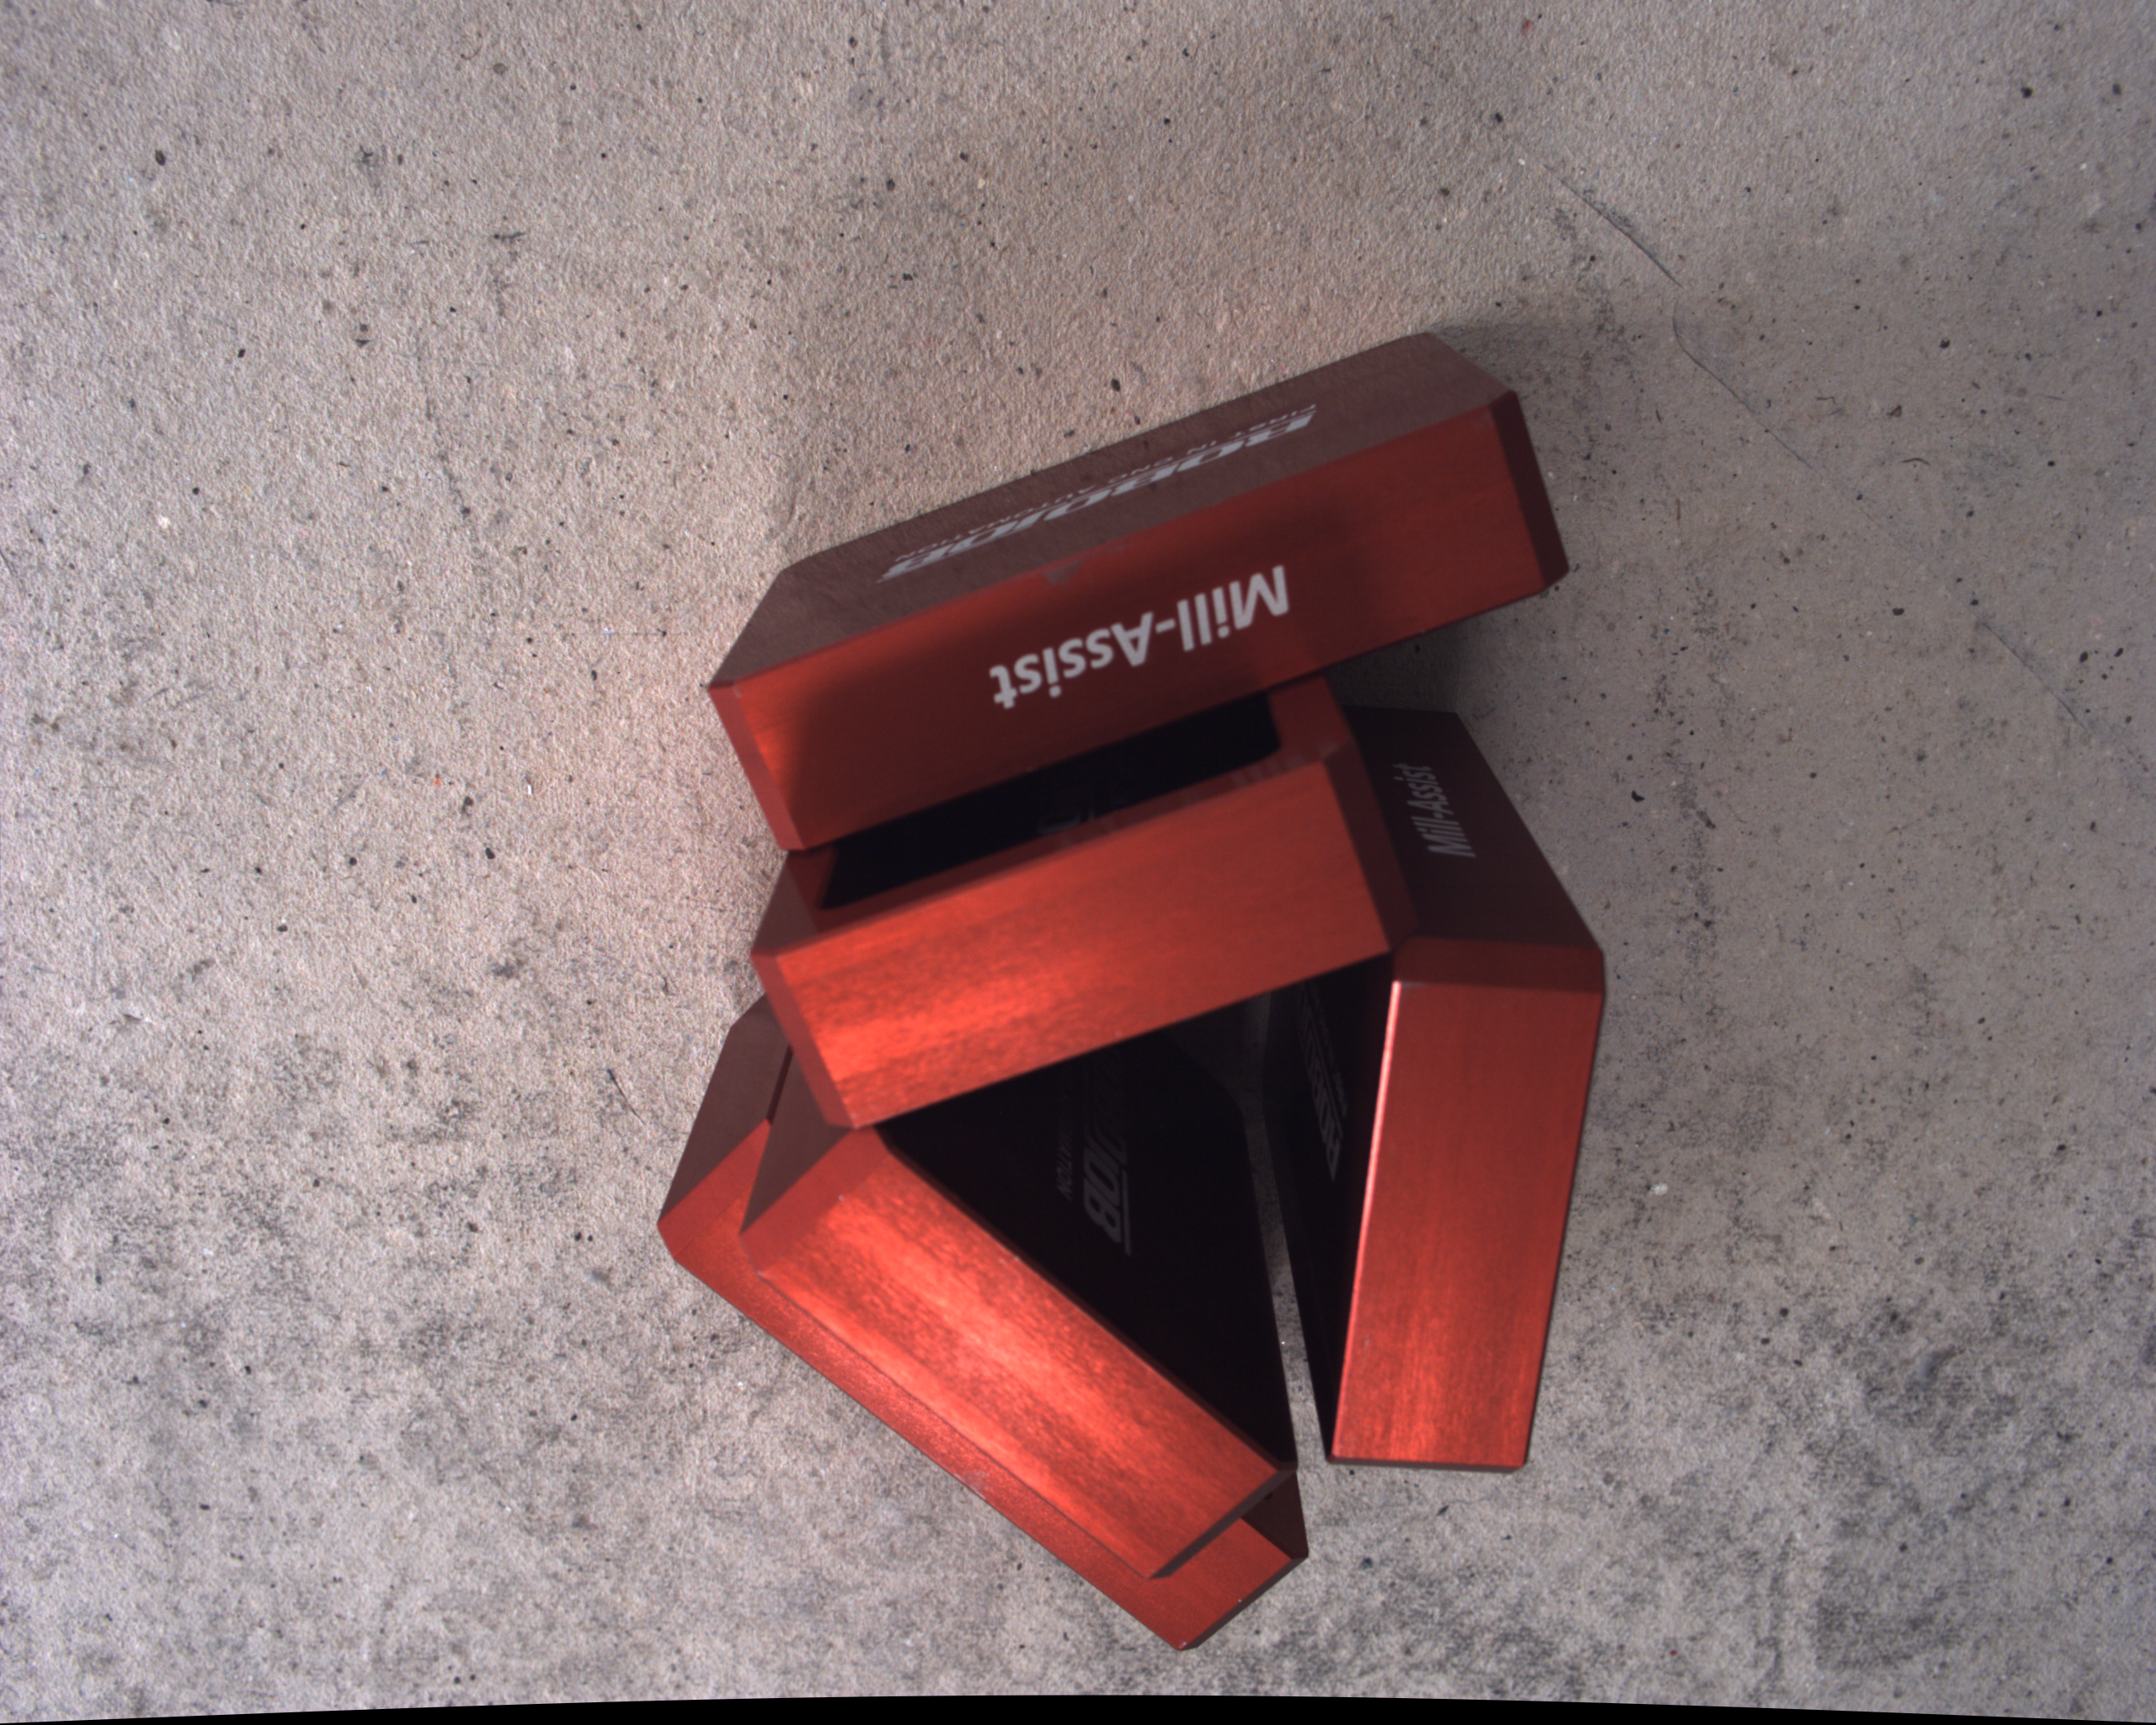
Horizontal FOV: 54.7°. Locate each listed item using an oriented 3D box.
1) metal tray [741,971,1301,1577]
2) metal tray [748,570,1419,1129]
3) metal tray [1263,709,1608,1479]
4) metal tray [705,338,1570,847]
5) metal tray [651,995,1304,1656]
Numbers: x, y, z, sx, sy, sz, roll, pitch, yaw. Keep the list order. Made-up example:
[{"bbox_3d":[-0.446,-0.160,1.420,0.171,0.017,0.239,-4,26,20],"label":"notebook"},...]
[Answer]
[{"bbox_3d":[-0.008,0.055,0.375,0.090,0.130,0.030,42,105,-14],"label":"metal tray"},{"bbox_3d":[0.001,-0.010,0.350,0.090,0.130,0.030,-19,109,7],"label":"metal tray"},{"bbox_3d":[0.057,0.033,0.367,0.030,0.130,0.089,4,110,-2],"label":"metal tray"},{"bbox_3d":[0.009,-0.050,0.357,0.131,0.090,0.030,-19,109,6],"label":"metal tray"},{"bbox_3d":[-0.016,0.081,0.405,0.130,0.090,0.030,42,105,-14],"label":"metal tray"}]
